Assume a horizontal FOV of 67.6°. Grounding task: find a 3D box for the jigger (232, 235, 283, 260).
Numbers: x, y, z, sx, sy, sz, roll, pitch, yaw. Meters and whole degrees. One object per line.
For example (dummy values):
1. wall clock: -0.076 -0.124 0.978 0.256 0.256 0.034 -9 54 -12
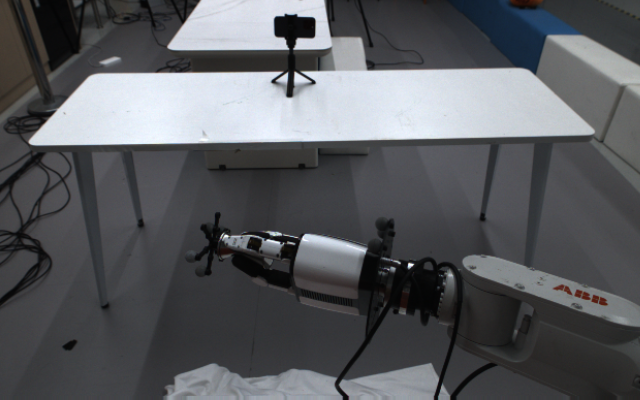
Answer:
1. jigger: -0.093 0.063 0.656 0.071 0.043 0.043 7 35 15
